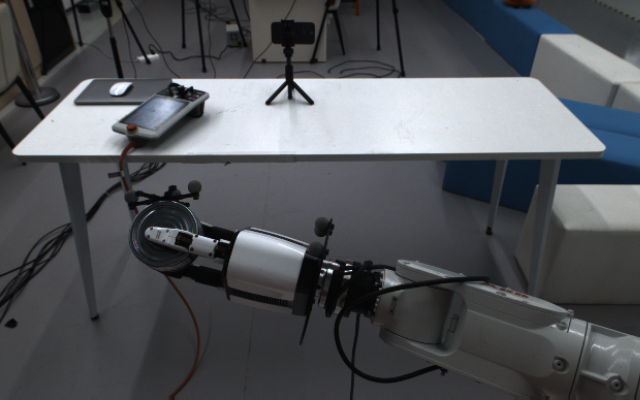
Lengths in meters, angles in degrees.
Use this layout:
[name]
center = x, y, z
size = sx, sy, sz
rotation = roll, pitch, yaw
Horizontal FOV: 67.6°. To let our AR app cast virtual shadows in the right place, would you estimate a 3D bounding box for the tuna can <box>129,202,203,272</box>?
[tuna can]
center = -0.186, 0.051, 0.596
size = 0.085, 0.034, 0.085
rotation = 0, 72, -2
